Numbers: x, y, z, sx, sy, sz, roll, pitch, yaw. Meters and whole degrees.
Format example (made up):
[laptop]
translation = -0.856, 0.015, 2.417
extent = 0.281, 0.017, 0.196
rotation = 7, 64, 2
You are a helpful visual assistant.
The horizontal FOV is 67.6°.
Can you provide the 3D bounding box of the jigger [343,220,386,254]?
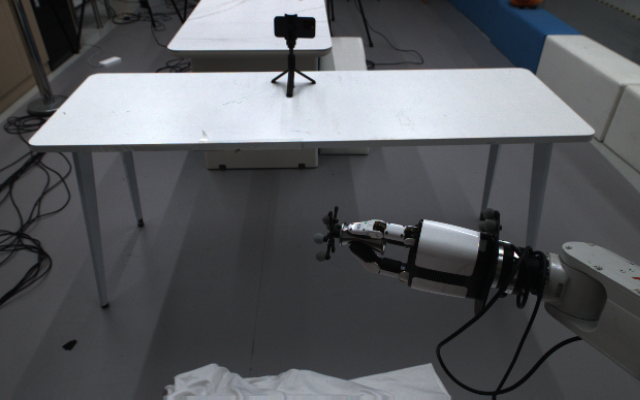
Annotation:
[jigger]
translation = 0.074, 0.053, 0.750
extent = 0.071, 0.043, 0.043
rotation = 8, 35, 14
